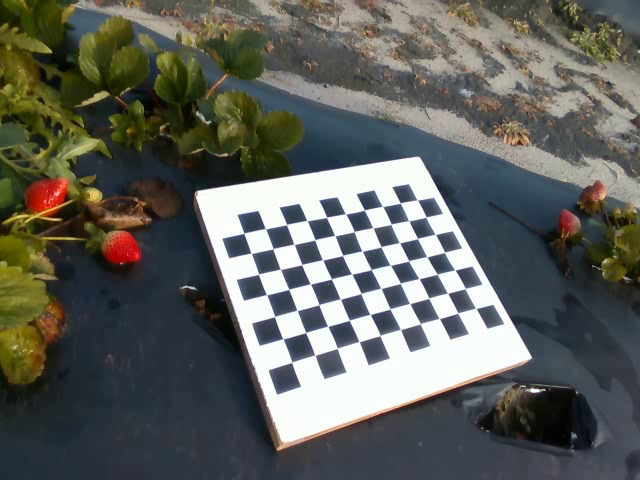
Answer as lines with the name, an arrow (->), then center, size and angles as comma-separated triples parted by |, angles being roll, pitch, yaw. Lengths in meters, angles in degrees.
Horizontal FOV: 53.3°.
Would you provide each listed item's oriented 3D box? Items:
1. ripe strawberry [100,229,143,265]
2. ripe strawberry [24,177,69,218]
ripe strawberry -> -0.186, 0.007, 0.588 | 0.043, 0.035, 0.030 | 32, -37, 8
ripe strawberry -> -0.259, -0.047, 0.595 | 0.048, 0.040, 0.031 | -40, -19, 10
